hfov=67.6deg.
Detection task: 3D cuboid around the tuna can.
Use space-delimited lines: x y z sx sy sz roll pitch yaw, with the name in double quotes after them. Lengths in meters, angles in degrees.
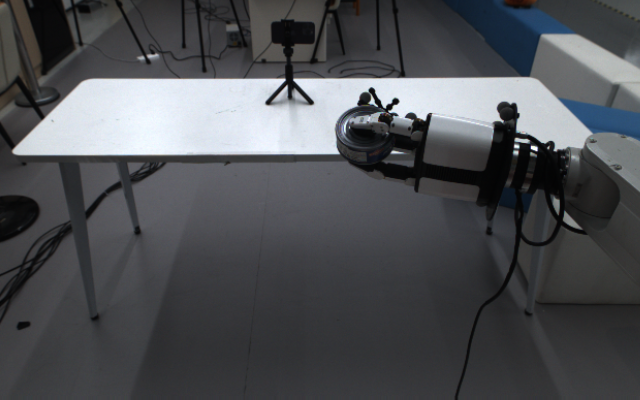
0.069 -0.088 0.692 0.085 0.034 0.085 -4 58 6 "tuna can"
